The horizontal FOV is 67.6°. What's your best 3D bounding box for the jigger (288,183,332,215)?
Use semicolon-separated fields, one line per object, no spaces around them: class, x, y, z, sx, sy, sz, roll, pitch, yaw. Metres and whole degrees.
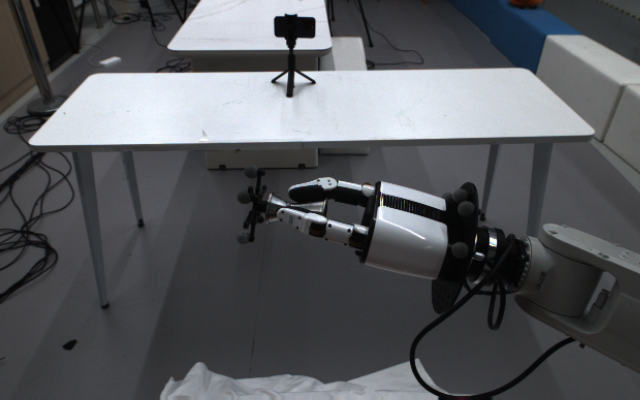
jigger;-0.020;0.012;0.584;0.071;0.043;0.043;8;35;4
